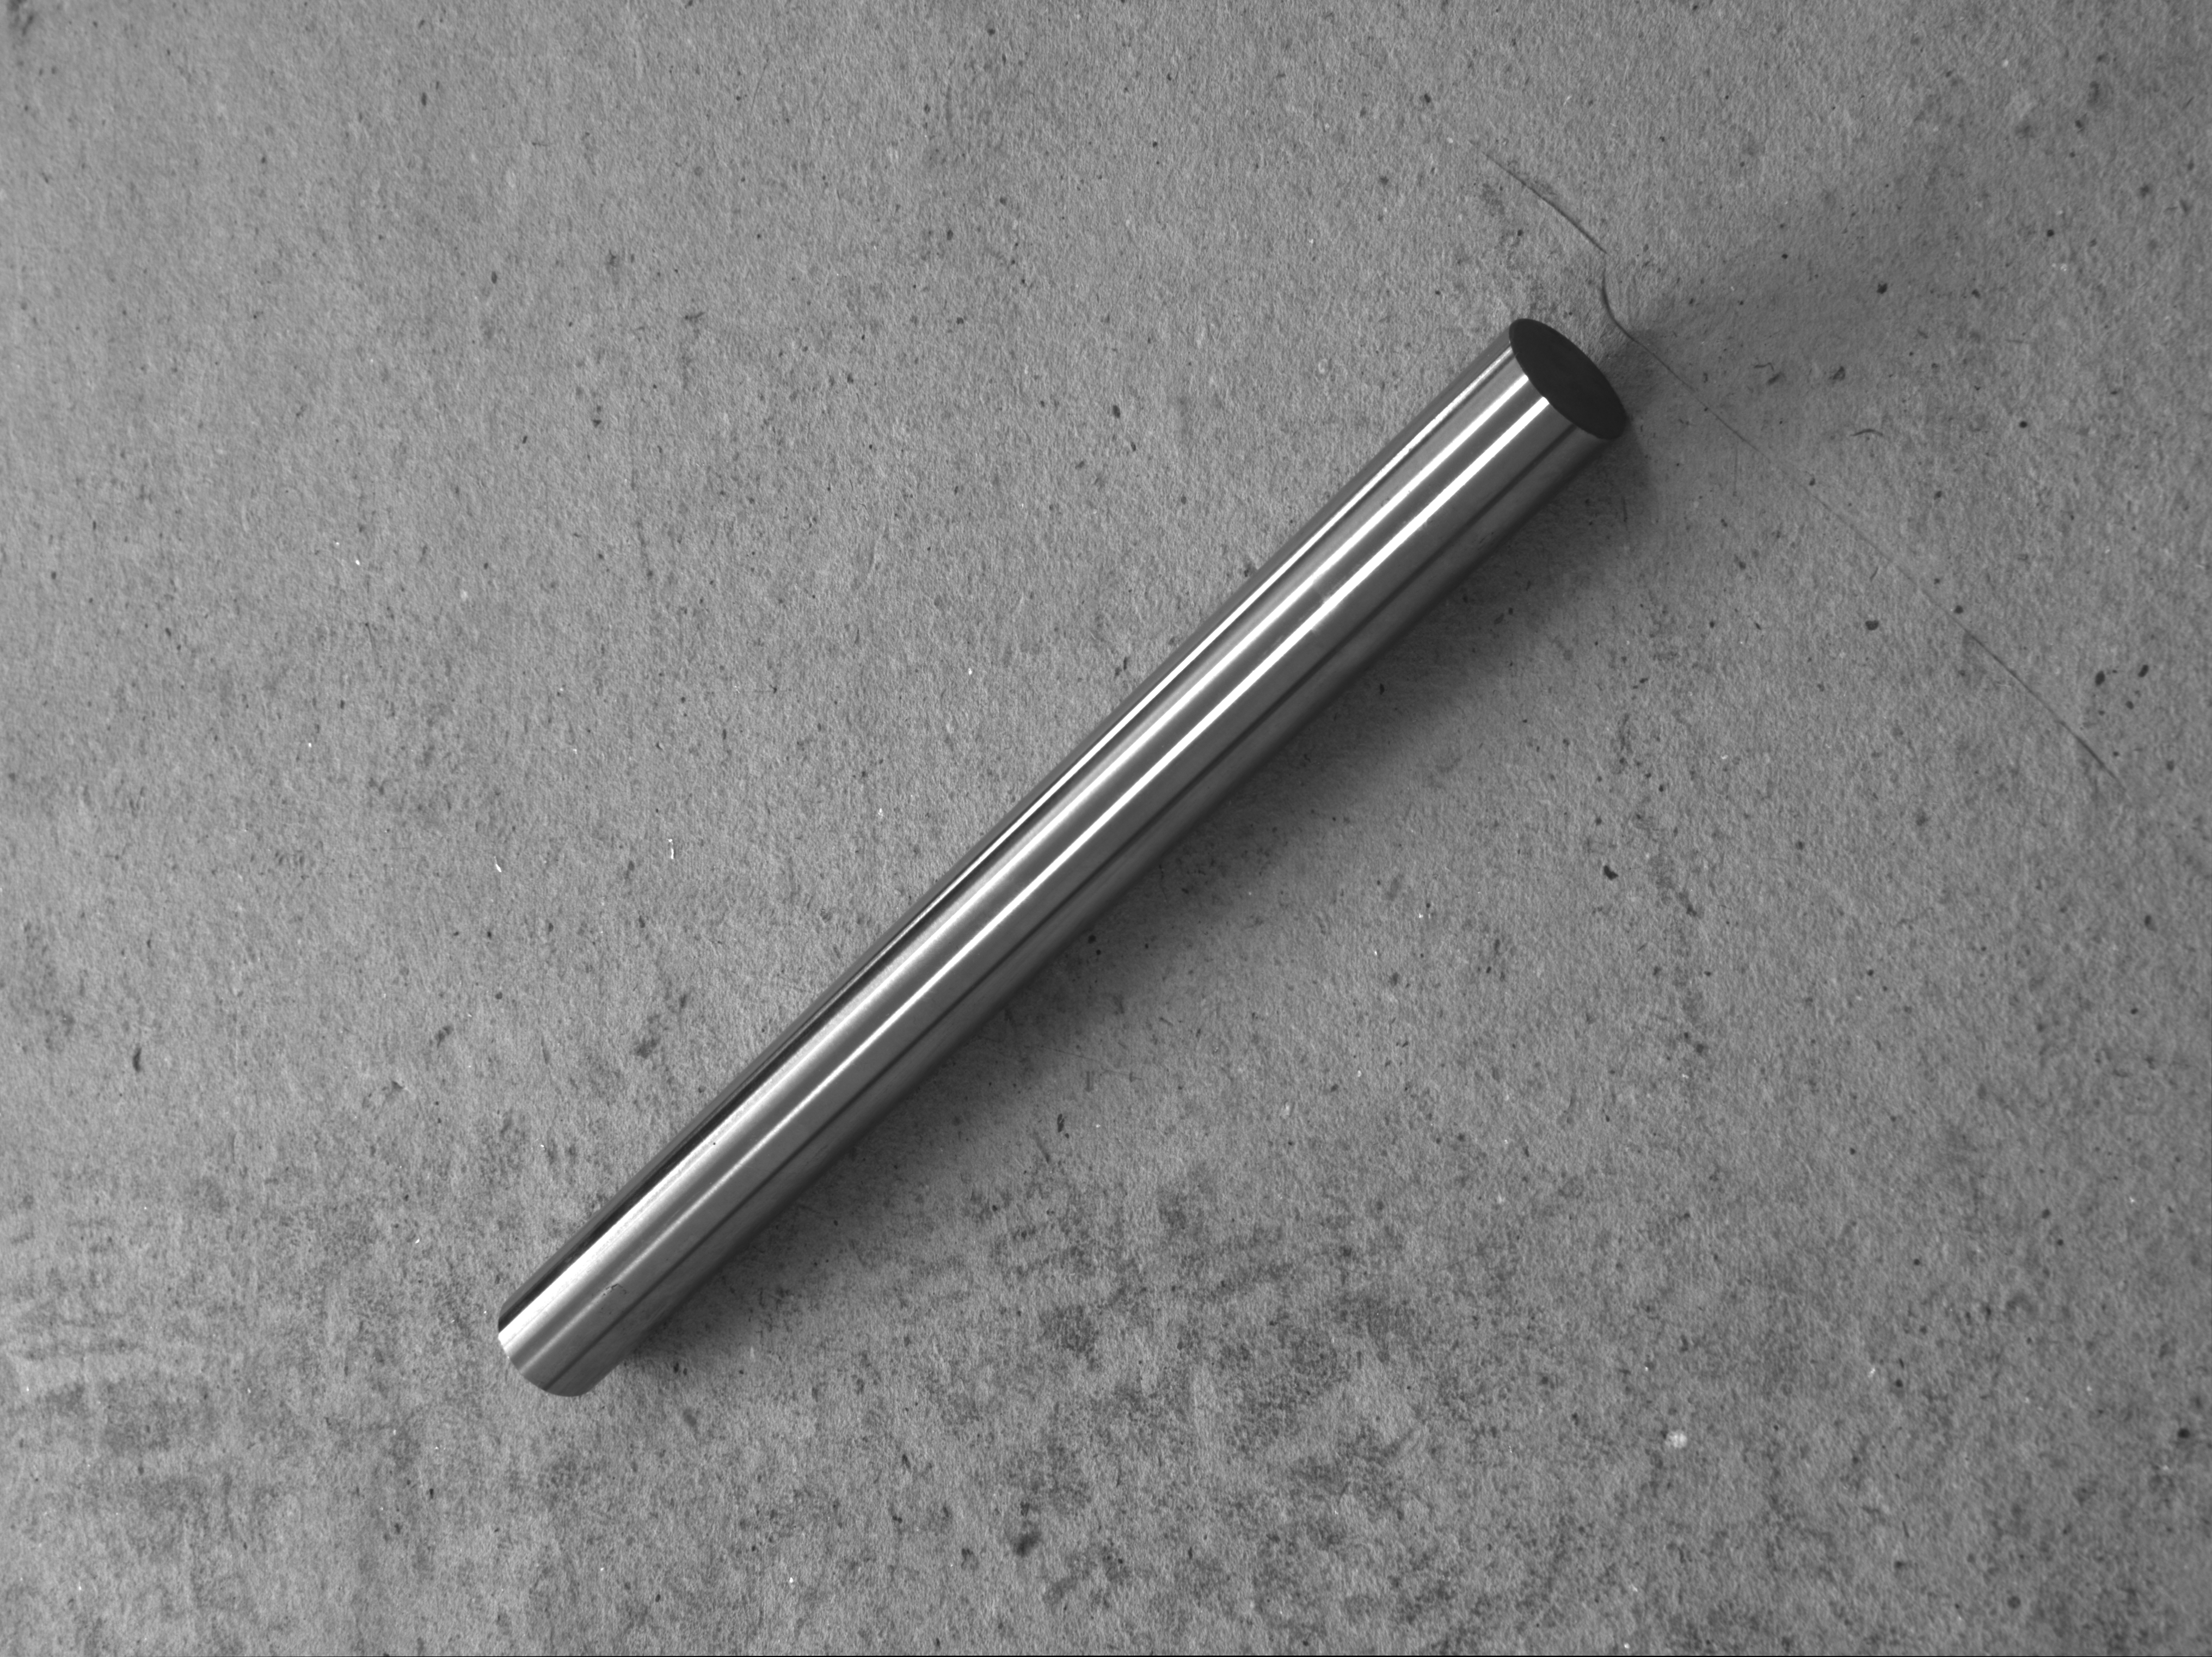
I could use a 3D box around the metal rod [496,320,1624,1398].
[{"bbox_3d":[-0.019,0.016,0.663,0.299,0.025,0.025,-43,64,32],"label":"metal rod"}]
